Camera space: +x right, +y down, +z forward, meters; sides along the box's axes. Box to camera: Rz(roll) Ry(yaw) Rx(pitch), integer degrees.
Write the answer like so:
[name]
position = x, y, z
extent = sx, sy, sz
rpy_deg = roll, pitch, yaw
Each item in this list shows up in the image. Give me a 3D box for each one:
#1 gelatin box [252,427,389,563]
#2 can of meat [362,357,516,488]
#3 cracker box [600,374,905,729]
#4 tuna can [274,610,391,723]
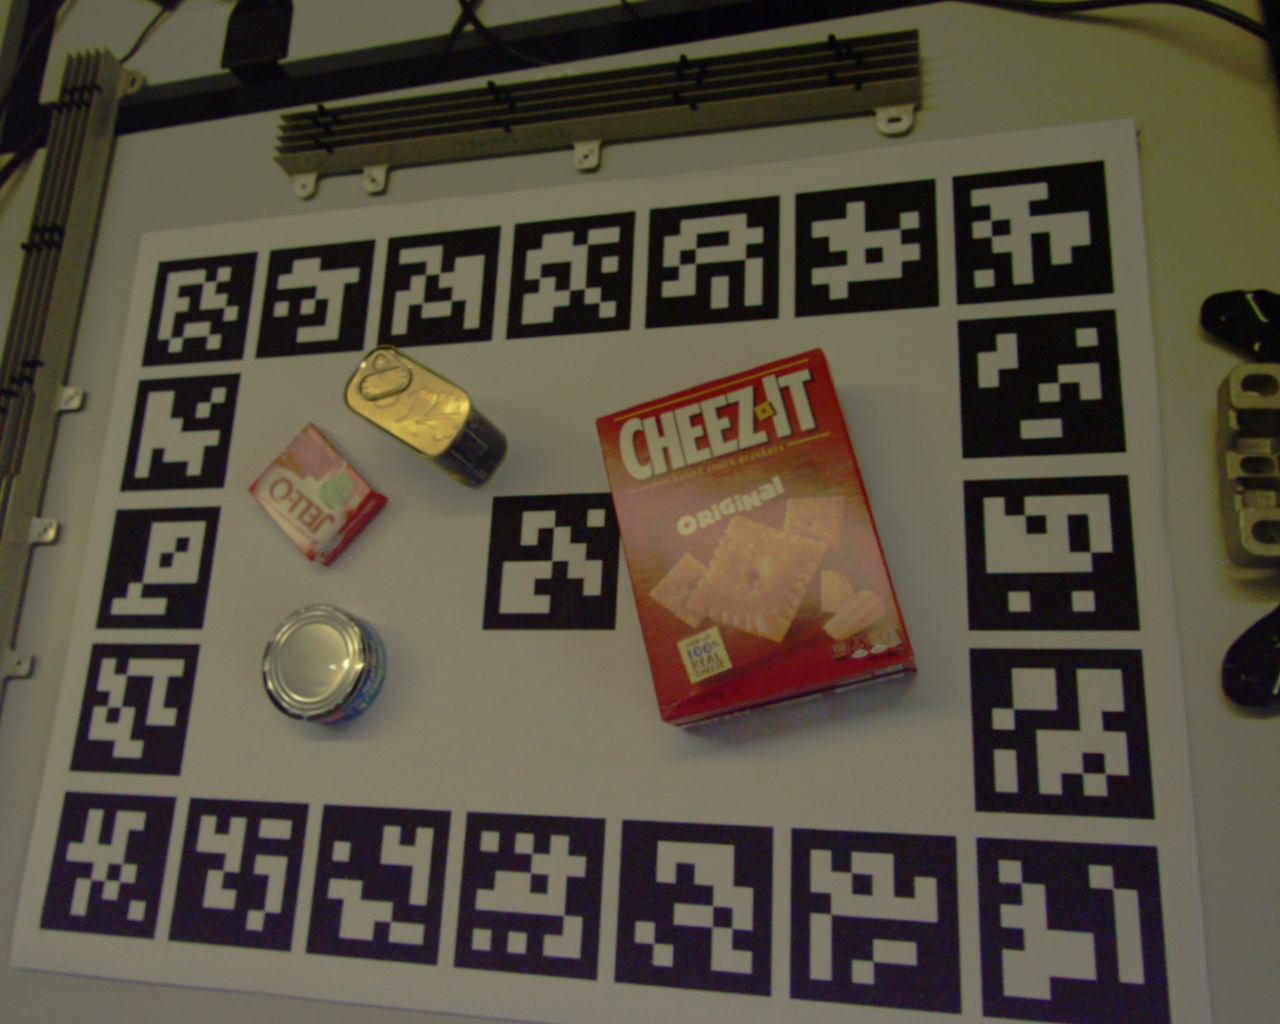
[gelatin box]
position = -0.262, -0.014, 0.937
extent = 0.090, 0.030, 0.073
rpy_deg = 42, 85, 20
[can of meat]
position = -0.156, -0.068, 0.903
extent = 0.103, 0.083, 0.058
rpy_deg = 29, 82, 23
[cracker box]
position = 0.075, 0.027, 0.810
extent = 0.165, 0.071, 0.215
rpy_deg = -18, 68, 9
[tuna can]
position = -0.237, 0.120, 0.883
extent = 0.086, 0.033, 0.086
rpy_deg = -4, 75, 16
